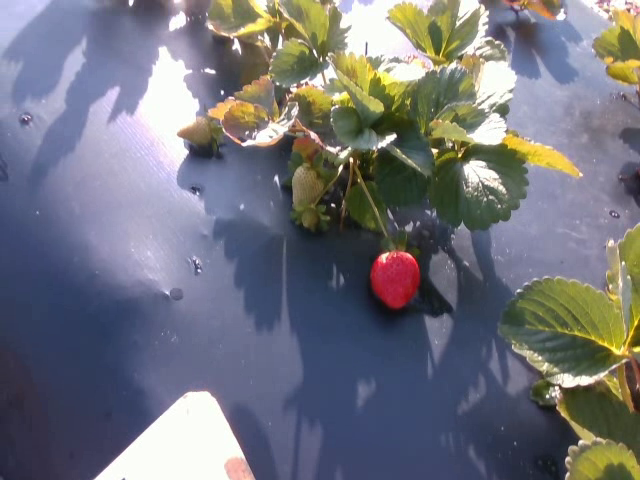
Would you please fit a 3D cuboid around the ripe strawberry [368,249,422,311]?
[{"bbox_3d":[0.045,0.025,0.345,0.030,0.045,0.033,-15,-48,31],"label":"ripe strawberry"}]
